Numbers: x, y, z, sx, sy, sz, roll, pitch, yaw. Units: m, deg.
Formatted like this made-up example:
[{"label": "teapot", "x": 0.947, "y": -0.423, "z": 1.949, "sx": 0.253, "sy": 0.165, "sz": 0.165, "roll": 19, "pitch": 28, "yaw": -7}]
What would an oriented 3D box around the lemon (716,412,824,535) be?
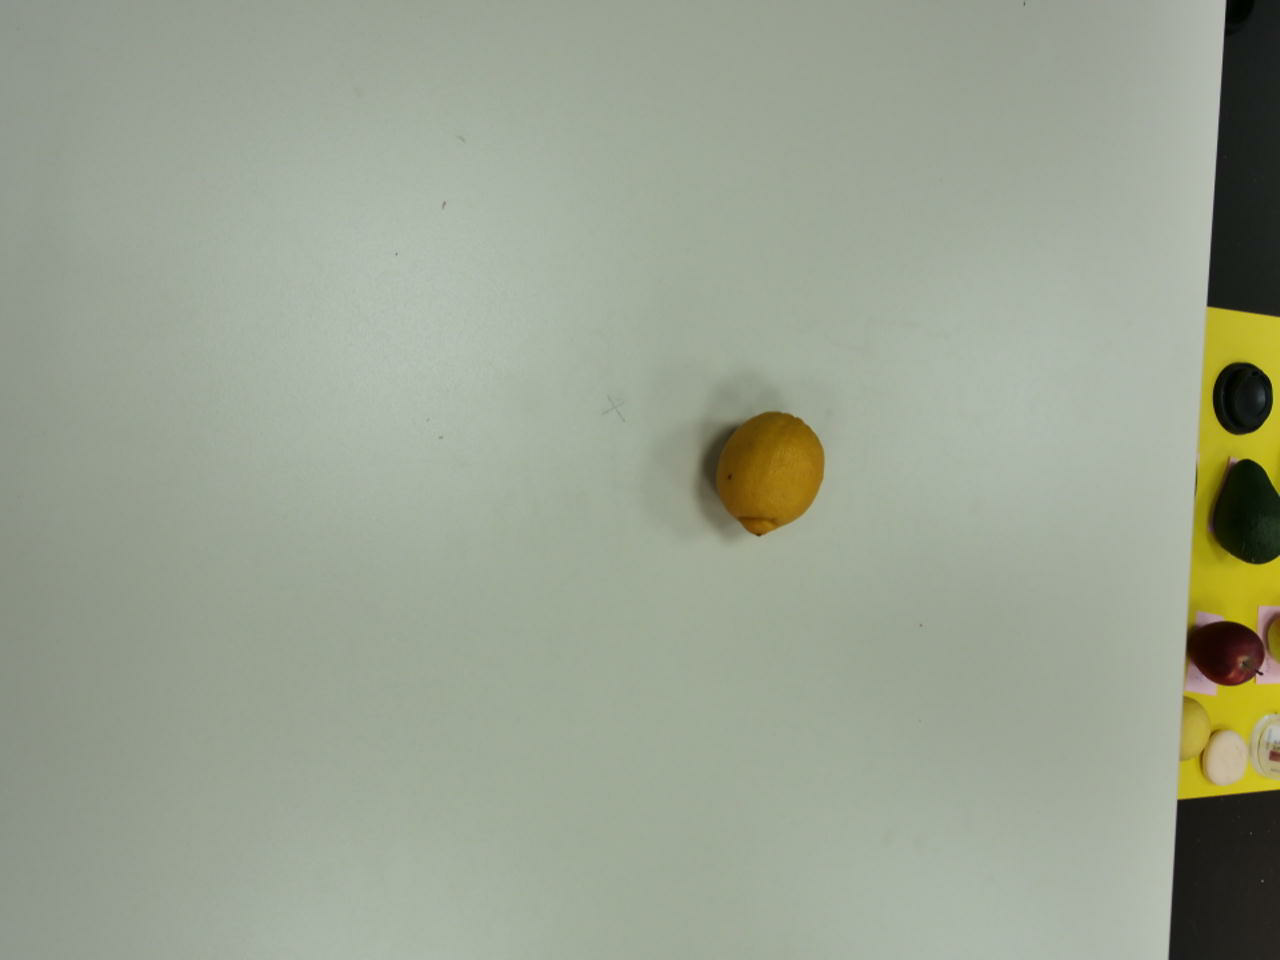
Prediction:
[{"label": "lemon", "x": 0.074, "y": -0.005, "z": 0.574, "sx": 0.067, "sy": 0.059, "sz": 0.061, "roll": -46, "pitch": 106, "yaw": -16}]
